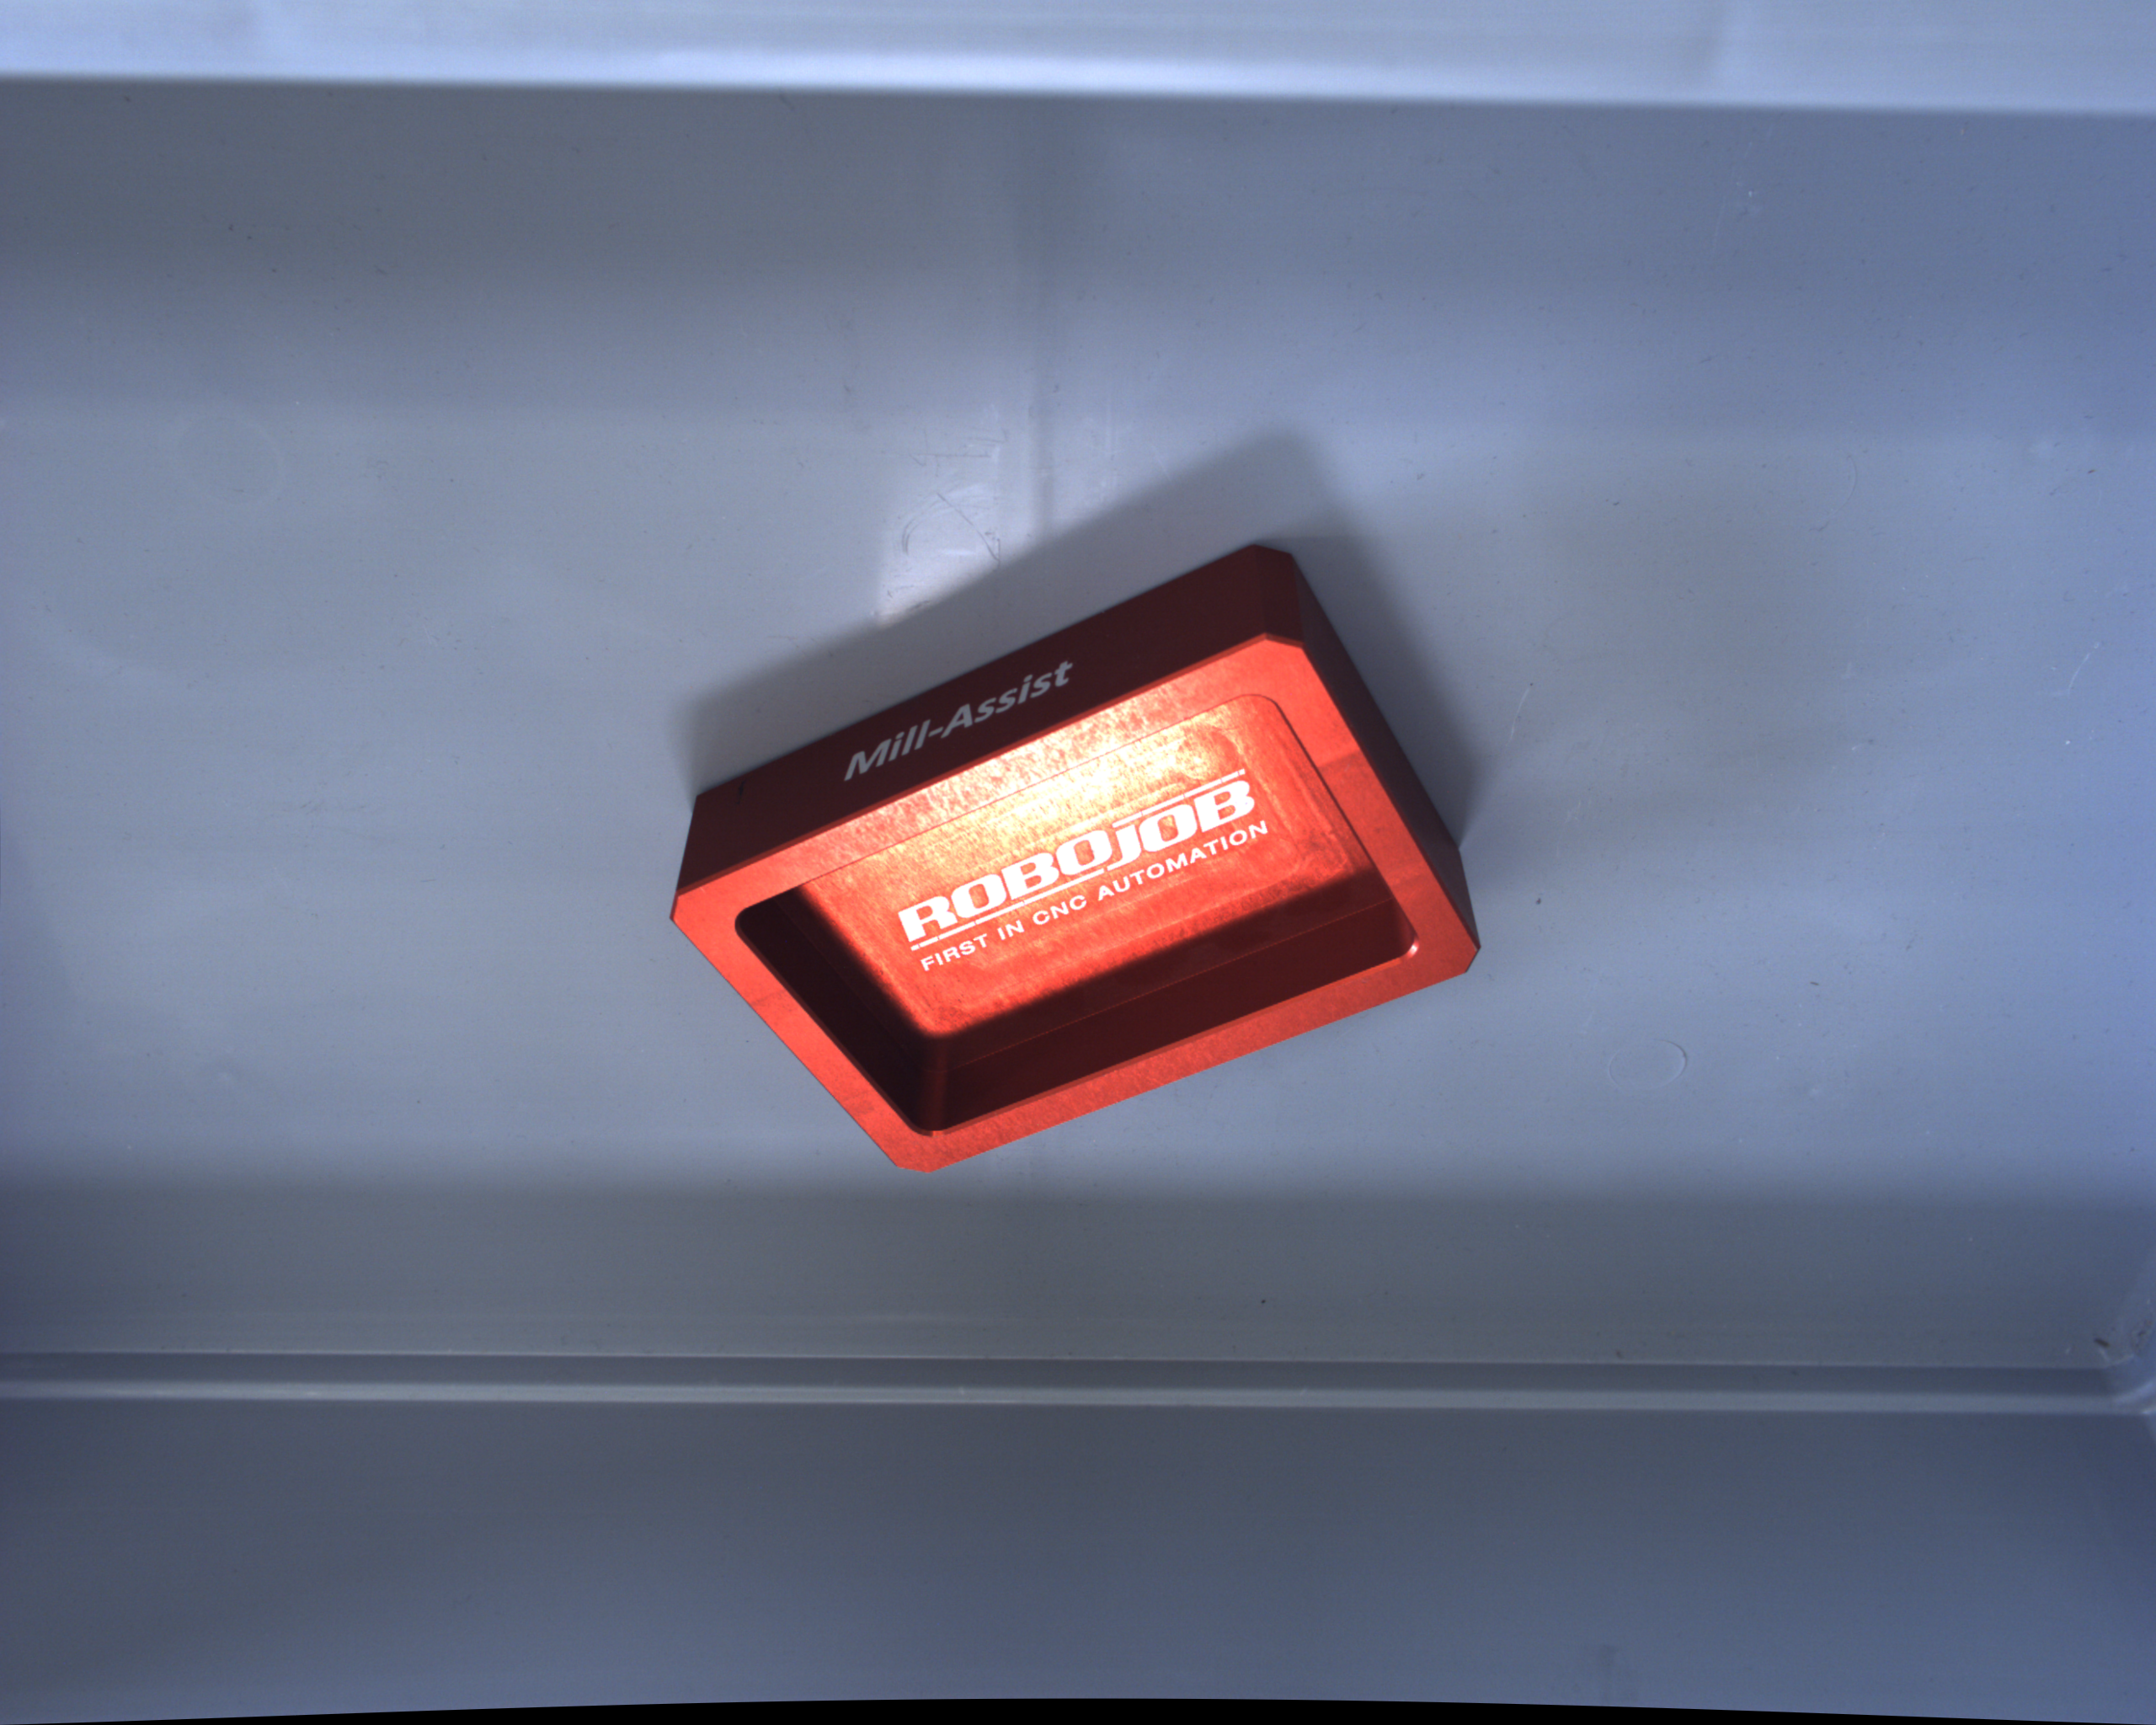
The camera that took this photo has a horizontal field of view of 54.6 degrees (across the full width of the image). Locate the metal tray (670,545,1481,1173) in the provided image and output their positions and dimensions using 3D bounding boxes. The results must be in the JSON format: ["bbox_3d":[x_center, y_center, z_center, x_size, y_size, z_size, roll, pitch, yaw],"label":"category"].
[{"bbox_3d":[0.000,0.004,0.405,0.130,0.030,0.090,-23,127,17],"label":"metal tray"}]
